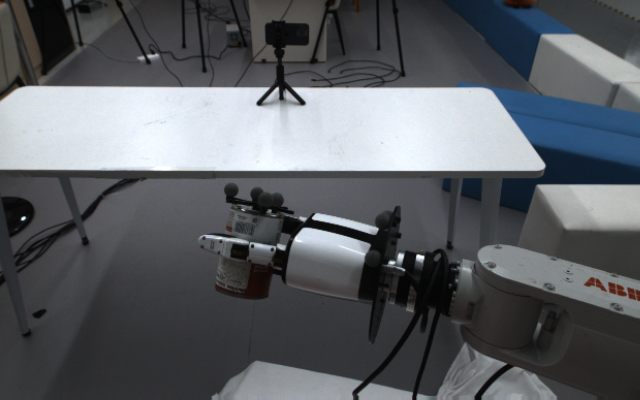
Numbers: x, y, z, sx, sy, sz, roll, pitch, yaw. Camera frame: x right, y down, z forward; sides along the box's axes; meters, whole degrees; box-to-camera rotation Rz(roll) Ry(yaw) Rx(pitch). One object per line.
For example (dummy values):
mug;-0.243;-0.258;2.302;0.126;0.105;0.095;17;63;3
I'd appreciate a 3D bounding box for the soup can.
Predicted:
soup can;-0.083;0.061;0.582;0.067;0.101;0.067;12;2;0
